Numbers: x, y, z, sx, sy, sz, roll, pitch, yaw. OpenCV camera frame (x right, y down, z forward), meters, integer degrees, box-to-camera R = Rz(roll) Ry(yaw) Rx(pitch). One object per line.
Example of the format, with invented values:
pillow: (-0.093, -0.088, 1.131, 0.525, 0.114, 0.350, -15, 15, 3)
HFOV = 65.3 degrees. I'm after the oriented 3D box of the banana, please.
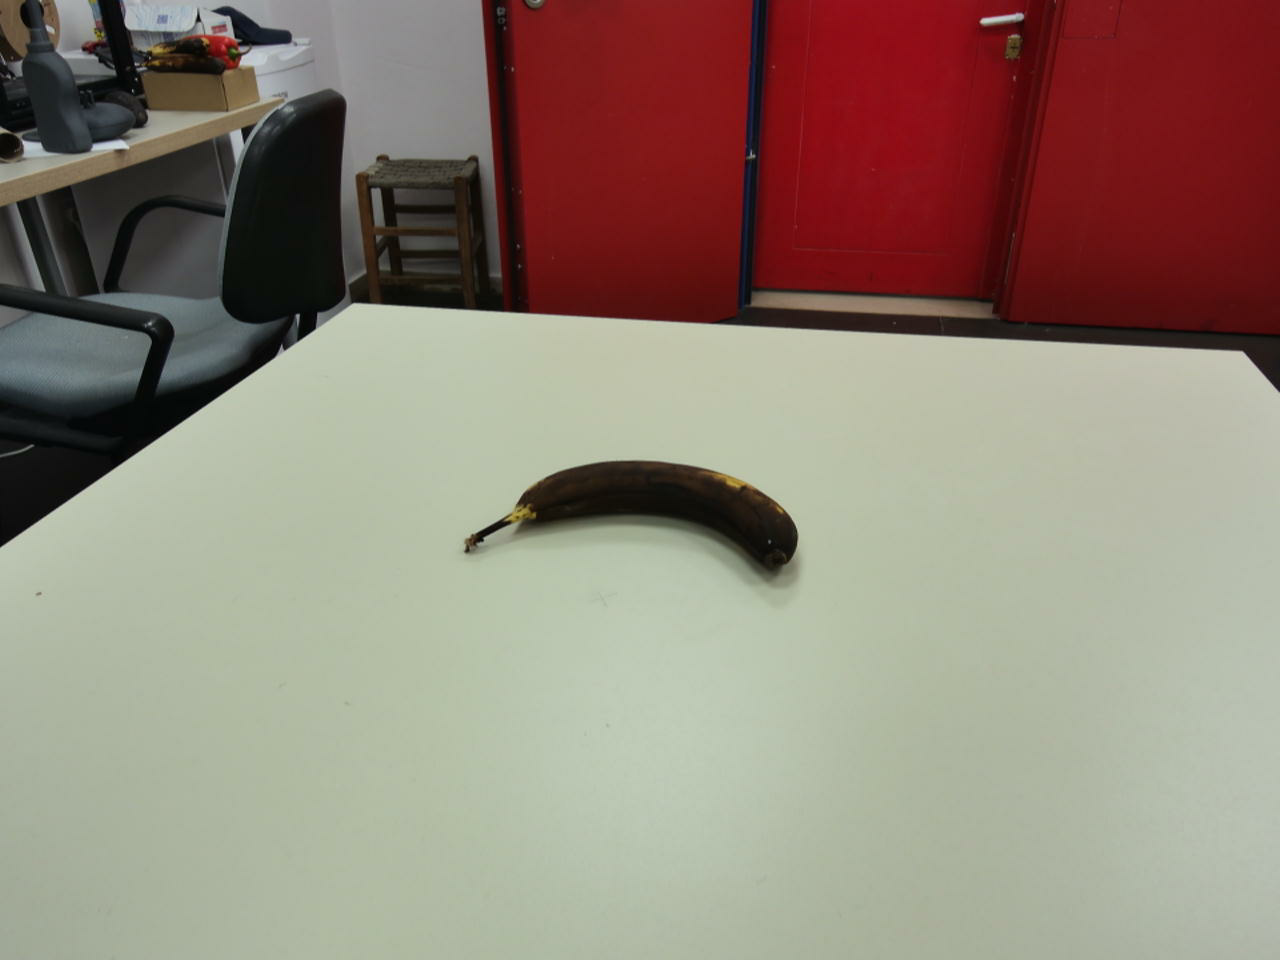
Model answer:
banana: (0.000, 0.016, 0.583, 0.188, 0.034, 0.091, 6, 27, 12)
